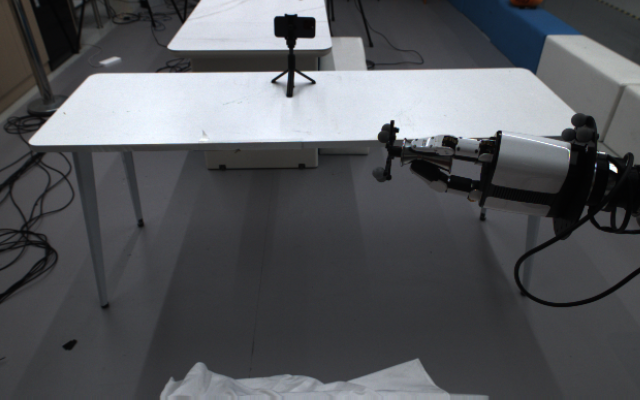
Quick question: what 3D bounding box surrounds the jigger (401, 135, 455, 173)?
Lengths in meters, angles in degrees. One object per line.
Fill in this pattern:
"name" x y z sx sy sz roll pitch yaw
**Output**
"jigger" 0.154 -0.066 0.665 0.071 0.043 0.043 7 35 13
